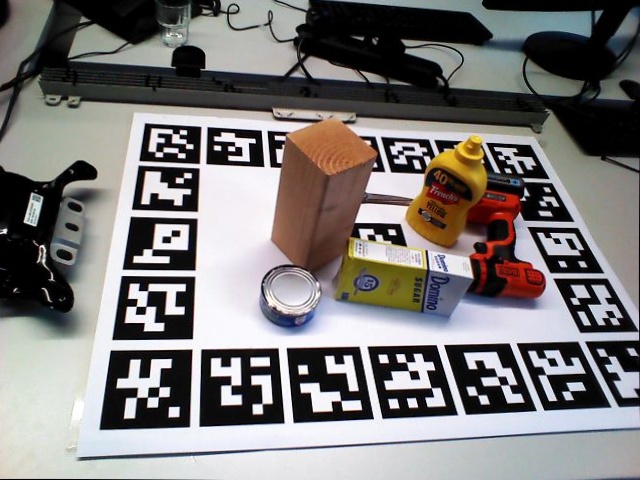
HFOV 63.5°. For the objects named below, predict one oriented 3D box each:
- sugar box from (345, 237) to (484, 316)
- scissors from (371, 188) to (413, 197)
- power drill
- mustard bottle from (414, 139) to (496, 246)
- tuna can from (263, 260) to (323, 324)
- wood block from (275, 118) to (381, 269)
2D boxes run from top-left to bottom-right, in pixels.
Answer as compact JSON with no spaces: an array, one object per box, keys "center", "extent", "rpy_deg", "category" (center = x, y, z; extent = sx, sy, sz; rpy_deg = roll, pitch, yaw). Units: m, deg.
[{"center":[0.130,0.053,0.728],"extent":[0.176,0.093,0.045],"rpy_deg":[11,47,-4],"category":"sugar box"},{"center":[0.060,-0.081,0.870],"extent":[0.203,0.016,0.087],"rpy_deg":[3,47,-9],"category":"scissors"},{"center":[0.258,-0.002,0.819],"extent":[0.185,0.057,0.186],"rpy_deg":[11,57,-2],"category":"power drill"},{"center":[0.216,-0.079,0.797],"extent":[0.096,0.192,0.058],"rpy_deg":[41,56,19],"category":"mustard bottle"},{"center":[-0.036,0.072,0.712],"extent":[0.086,0.034,0.085],"rpy_deg":[6,51,-8],"category":"tuna can"},{"center":[0.005,-0.057,0.730],"extent":[0.090,0.207,0.090],"rpy_deg":[-24,61,-27],"category":"wood block"}]
